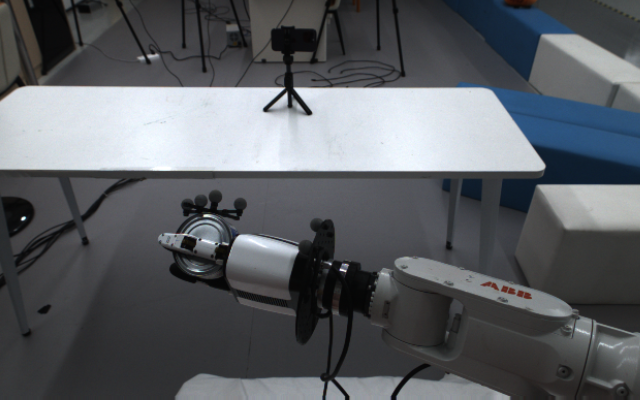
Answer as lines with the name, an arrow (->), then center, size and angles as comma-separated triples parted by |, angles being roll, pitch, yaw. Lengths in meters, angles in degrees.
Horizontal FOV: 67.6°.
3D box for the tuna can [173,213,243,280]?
tuna can -> -0.149, 0.063, 0.645 | 0.085, 0.034, 0.085 | -5, 72, 14
